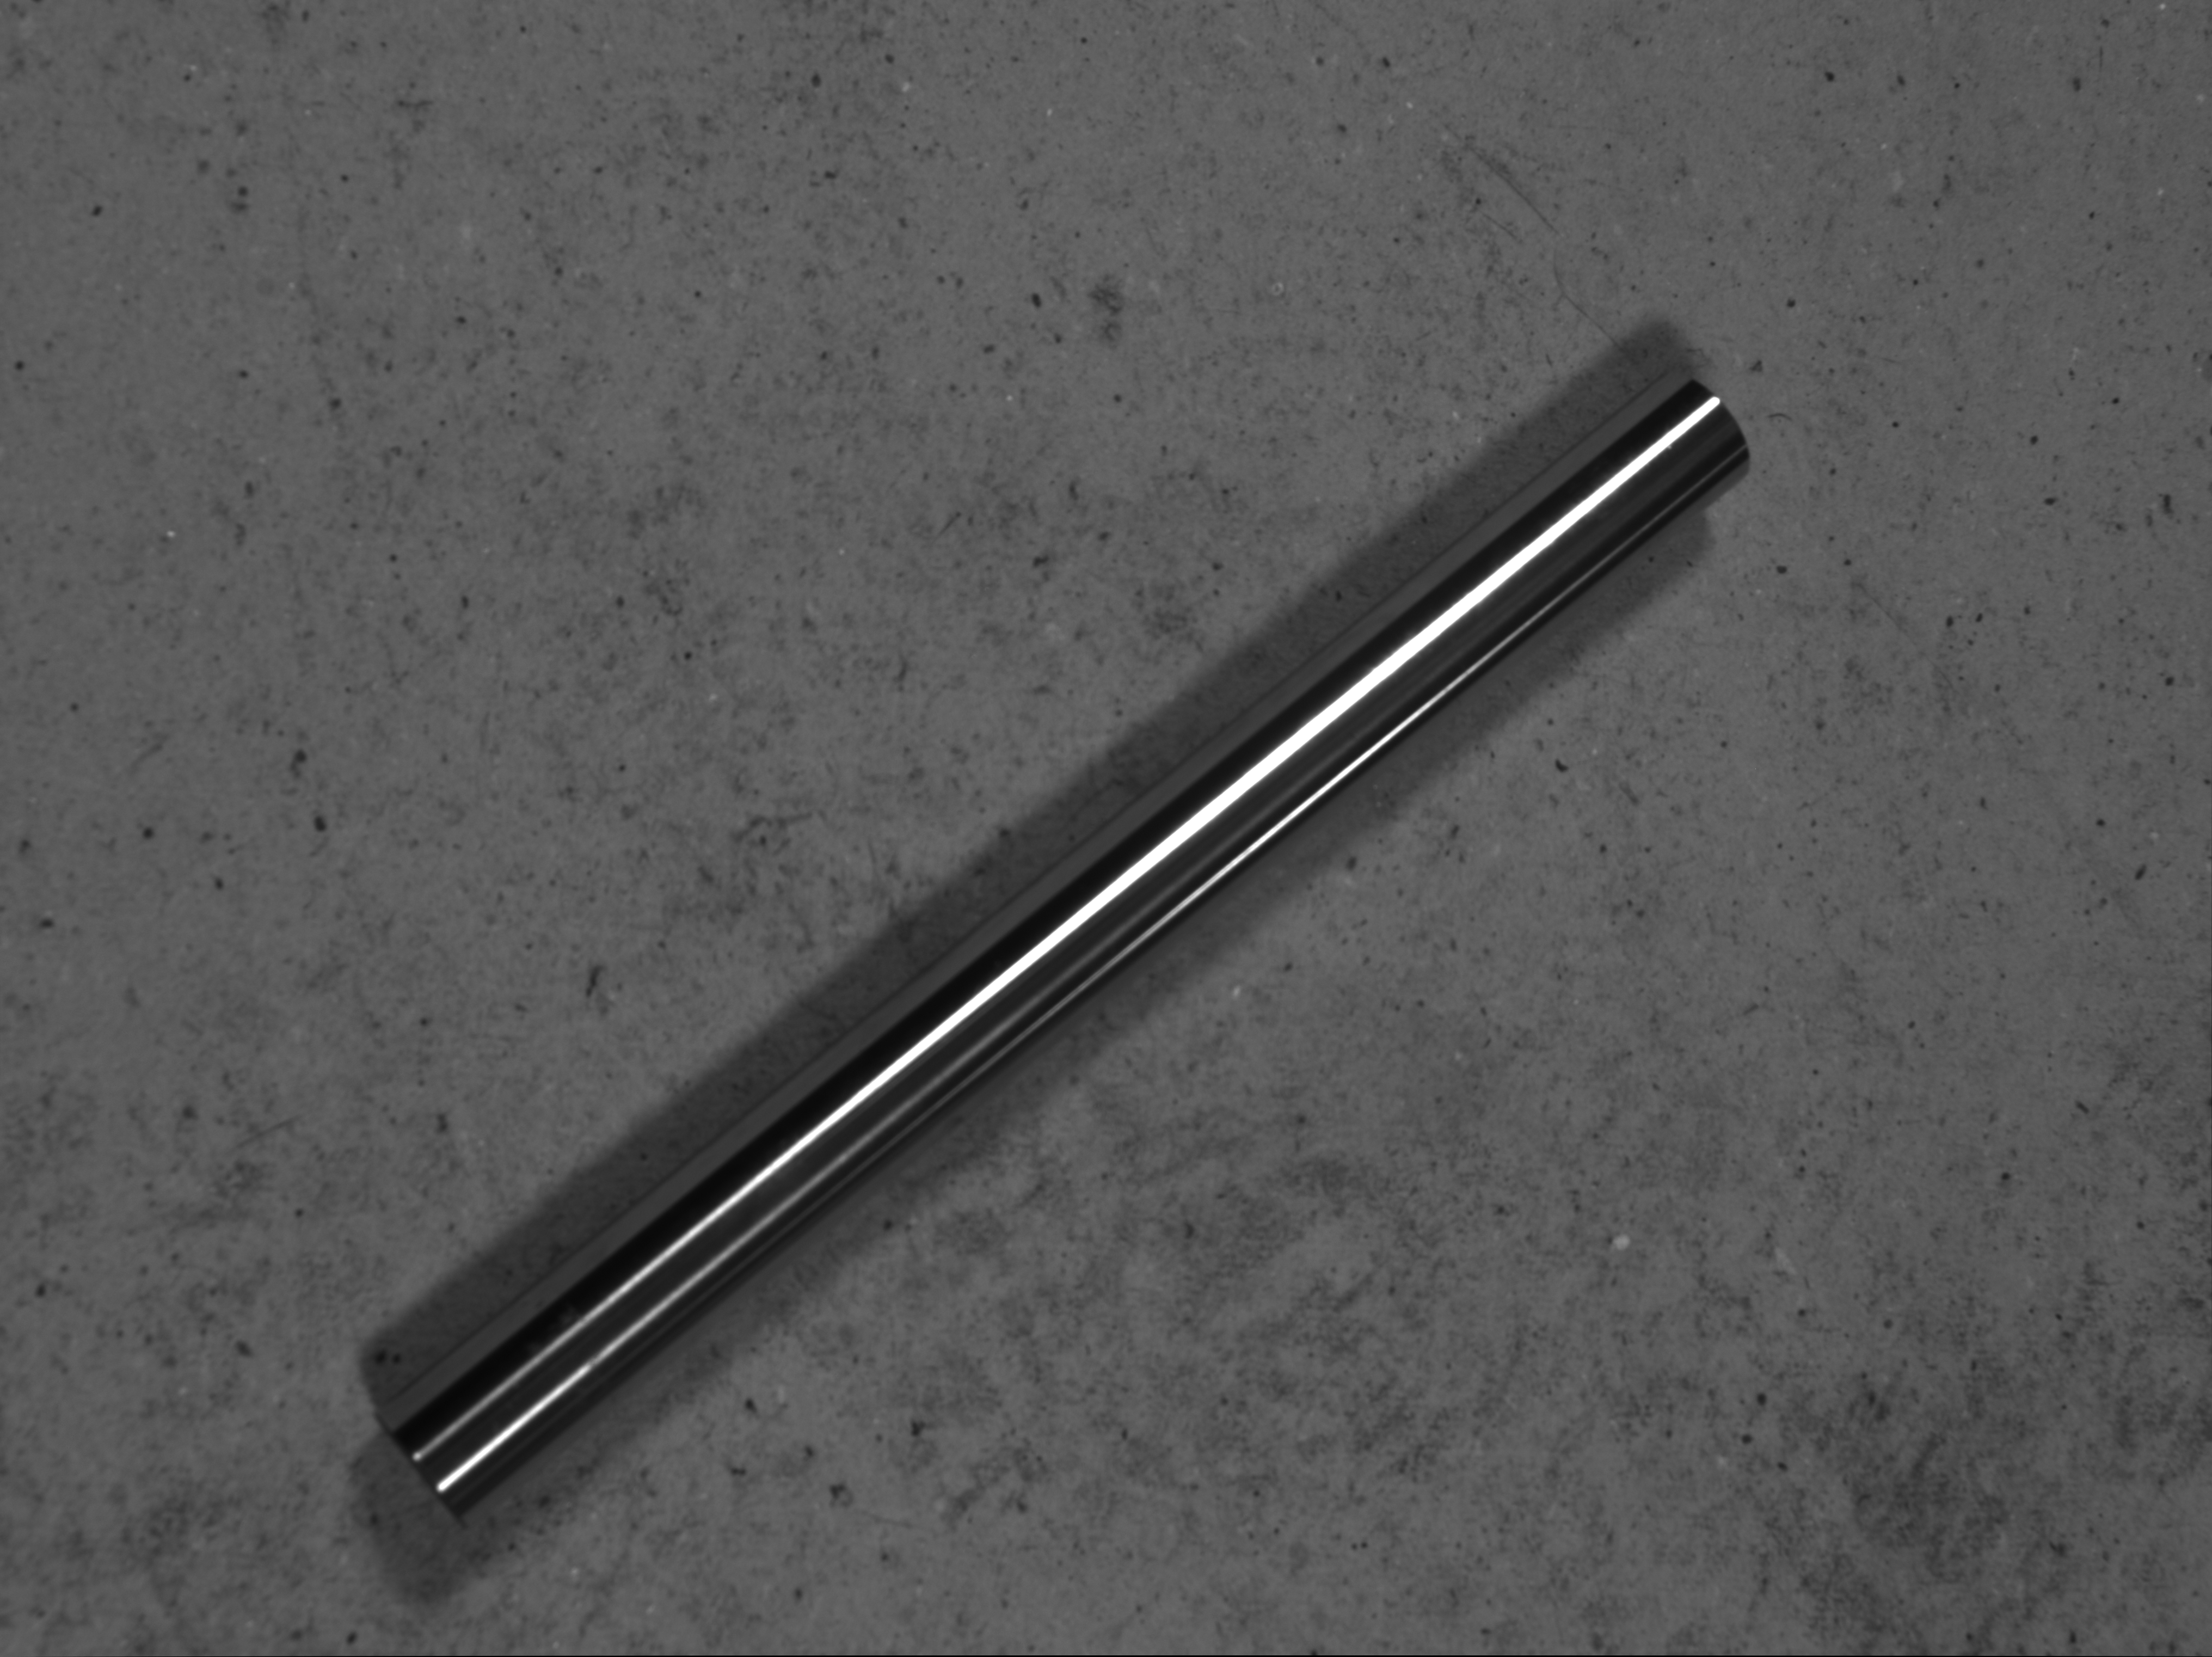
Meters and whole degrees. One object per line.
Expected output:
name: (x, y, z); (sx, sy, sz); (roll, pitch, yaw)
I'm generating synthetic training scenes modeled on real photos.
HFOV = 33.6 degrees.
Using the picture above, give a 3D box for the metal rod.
metal rod: (0.003, 0.015, 0.645); (0.300, 0.025, 0.025); (-39, 102, -16)
